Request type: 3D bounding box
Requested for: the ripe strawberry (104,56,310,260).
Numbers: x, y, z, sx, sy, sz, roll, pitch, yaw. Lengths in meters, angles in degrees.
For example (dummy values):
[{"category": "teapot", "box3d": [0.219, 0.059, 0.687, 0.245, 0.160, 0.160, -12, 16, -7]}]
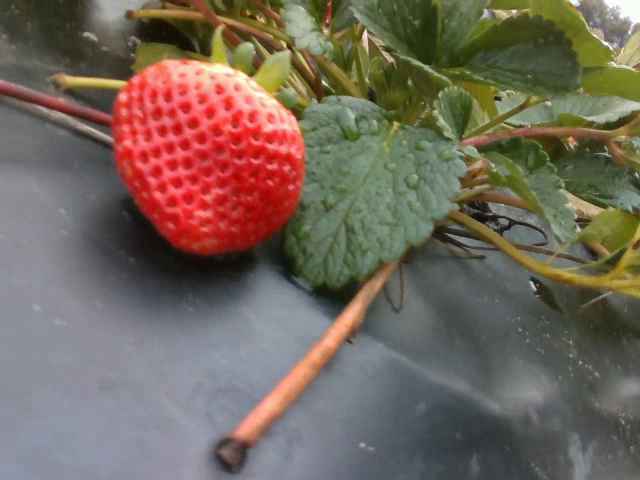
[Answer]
[{"category": "ripe strawberry", "box3d": [-0.030, -0.023, 0.166, 0.062, 0.064, 0.050, 32, -32, -33]}]
